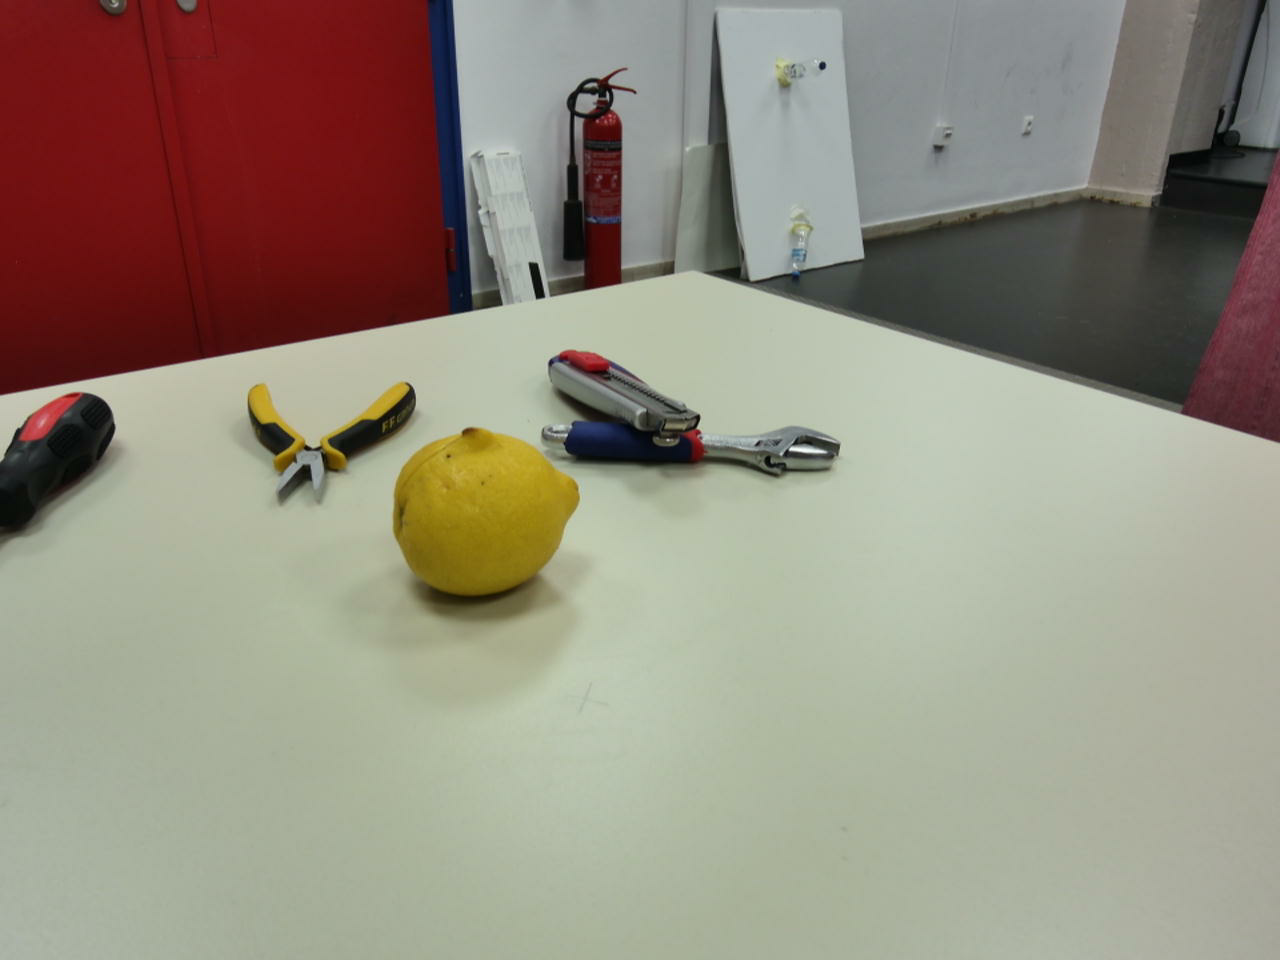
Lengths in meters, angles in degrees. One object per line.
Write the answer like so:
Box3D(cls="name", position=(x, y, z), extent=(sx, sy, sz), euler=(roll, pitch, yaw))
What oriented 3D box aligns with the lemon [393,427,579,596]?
Box3D(cls="lemon", position=(-0.067, 0.011, 0.410), extent=(0.071, 0.071, 0.070), euler=(7, 24, 16))
